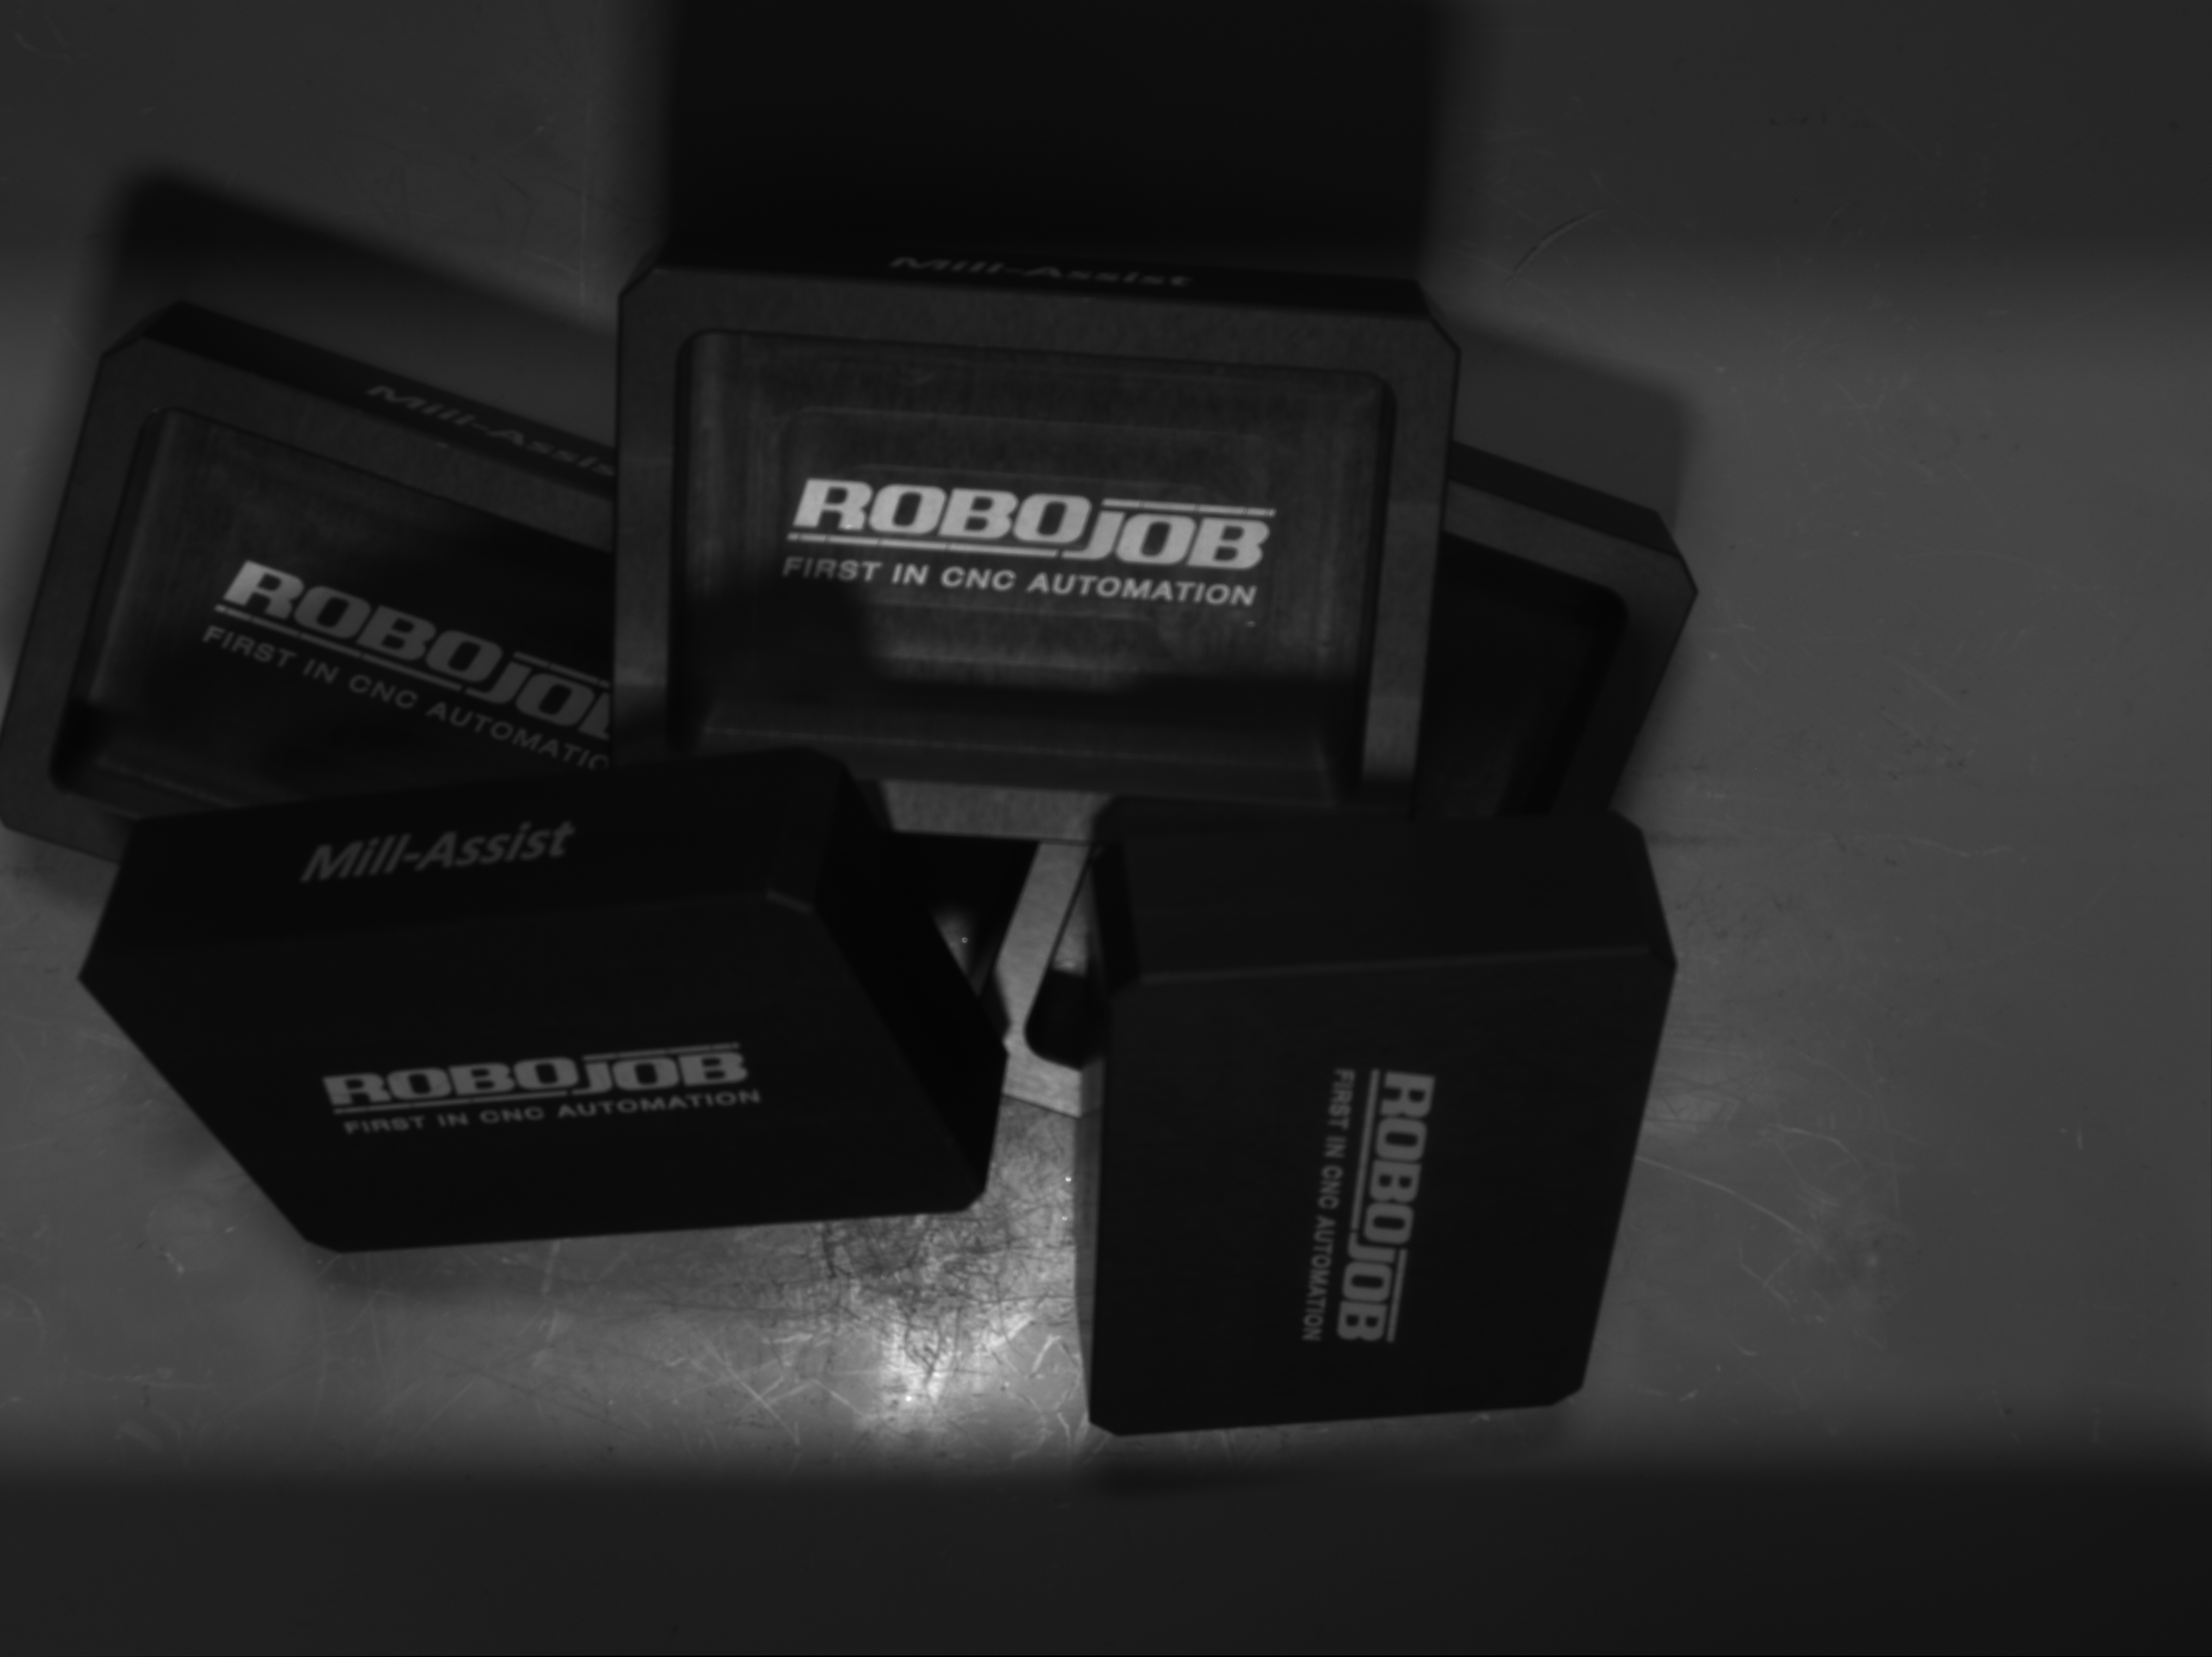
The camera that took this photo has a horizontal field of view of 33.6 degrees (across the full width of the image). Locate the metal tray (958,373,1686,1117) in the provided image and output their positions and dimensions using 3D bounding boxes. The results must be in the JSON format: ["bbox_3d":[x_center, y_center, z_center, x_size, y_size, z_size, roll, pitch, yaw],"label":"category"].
[{"bbox_3d":[0.034,-0.005,0.638,0.090,0.030,0.130,18,109,-7],"label":"metal tray"}]

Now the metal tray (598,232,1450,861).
[{"bbox_3d":[-0.014,-0.045,0.590,0.130,0.030,0.090,3,110,-2],"label":"metal tray"}]

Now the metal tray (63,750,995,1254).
[{"bbox_3d":[-0.094,0.032,0.613,0.130,0.030,0.090,-6,140,18],"label":"metal tray"}]

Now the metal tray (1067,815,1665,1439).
[{"bbox_3d":[0.040,0.054,0.625,0.090,0.030,0.130,-3,139,-5],"label":"metal tray"}]

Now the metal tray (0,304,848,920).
[{"bbox_3d":[-0.117,-0.025,0.627,0.130,0.030,0.090,19,109,-7],"label":"metal tray"}]
